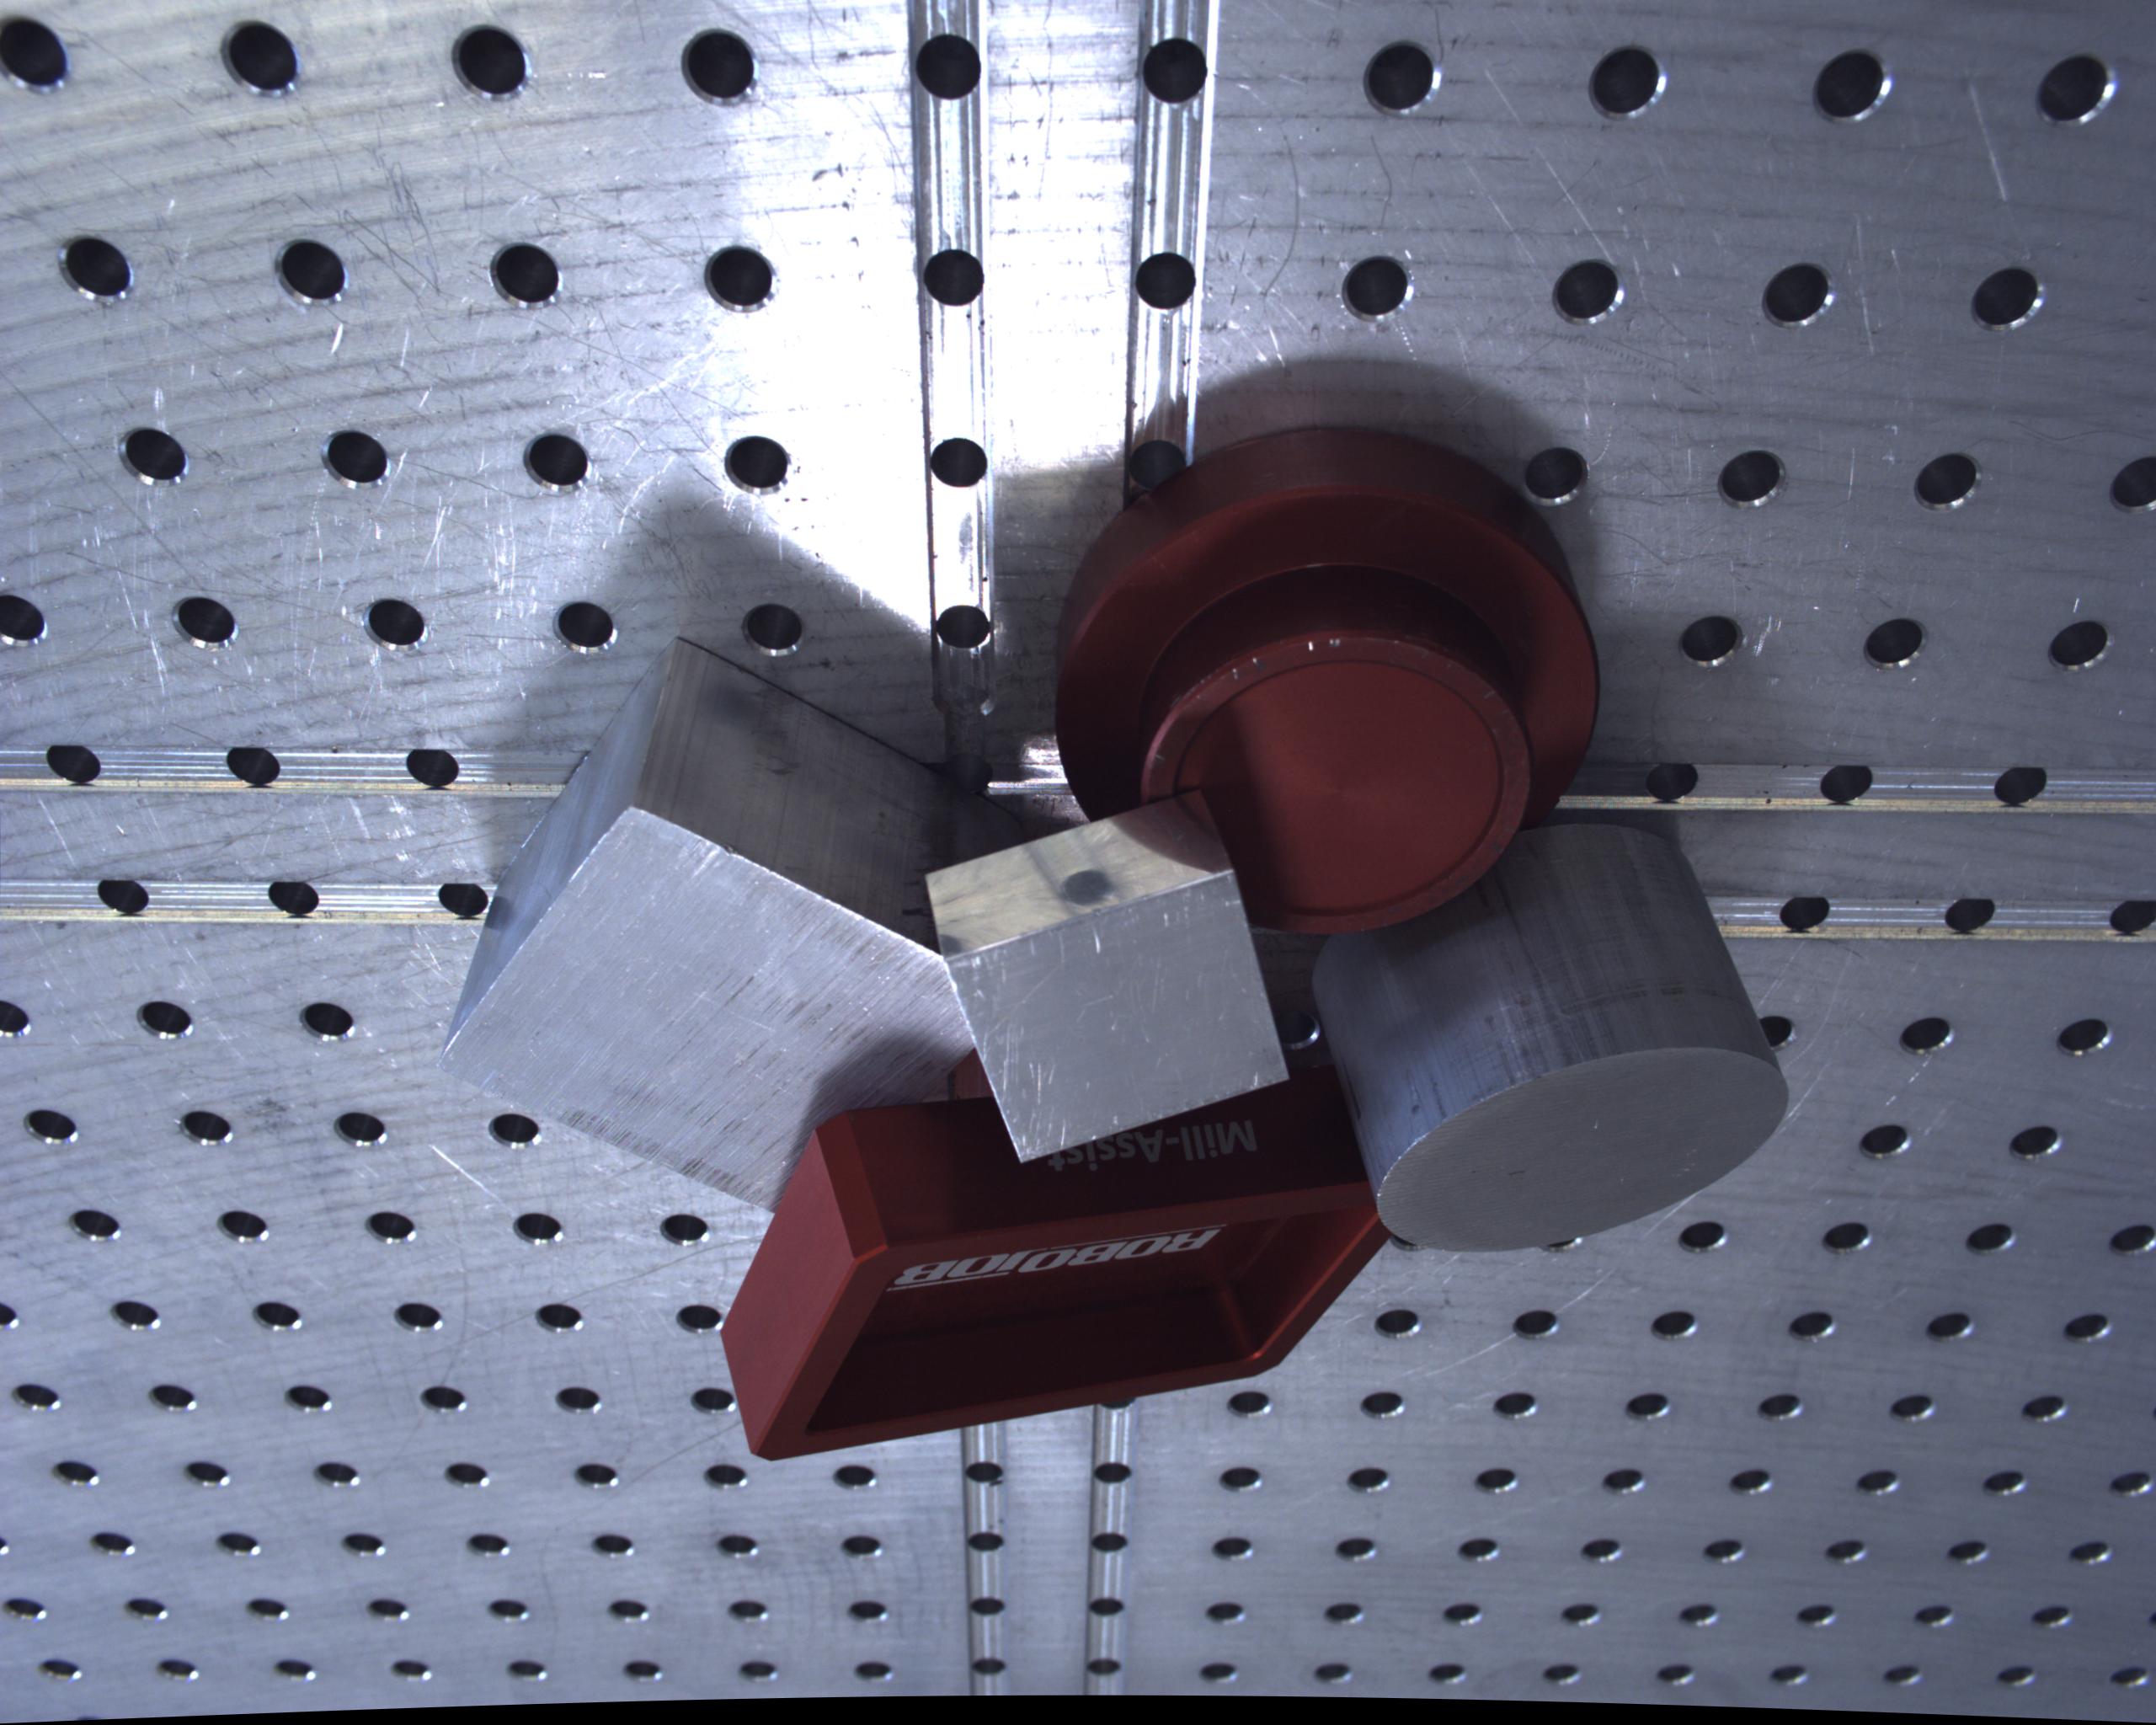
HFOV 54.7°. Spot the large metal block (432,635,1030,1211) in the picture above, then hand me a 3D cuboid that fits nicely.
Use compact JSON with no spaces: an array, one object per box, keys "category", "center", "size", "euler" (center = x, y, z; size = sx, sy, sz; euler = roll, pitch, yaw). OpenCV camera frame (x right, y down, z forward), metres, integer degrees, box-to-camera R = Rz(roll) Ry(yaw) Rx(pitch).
[{"category":"large metal block","center":[-0.066,0.016,0.408],"size":[0.080,0.050,0.080],"euler":[29,124,-22]}]

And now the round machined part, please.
[{"category":"round machined part","center":[0.046,-0.025,0.379],"size":[0.099,0.042,0.097],"euler":[0,130,0]}]

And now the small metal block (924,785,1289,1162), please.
[{"category":"small metal block","center":[0.006,0.020,0.368],"size":[0.050,0.025,0.050],"euler":[-17,126,0]}]

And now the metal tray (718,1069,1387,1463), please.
[{"category":"metal tray","center":[-0.001,0.085,0.443],"size":[0.131,0.030,0.089],"euler":[-2,142,-28]}]

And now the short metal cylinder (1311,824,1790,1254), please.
[{"category":"short metal cylinder","center":[0.092,0.036,0.412],"size":[0.081,0.050,0.080],"euler":[-9,145,-6]}]
